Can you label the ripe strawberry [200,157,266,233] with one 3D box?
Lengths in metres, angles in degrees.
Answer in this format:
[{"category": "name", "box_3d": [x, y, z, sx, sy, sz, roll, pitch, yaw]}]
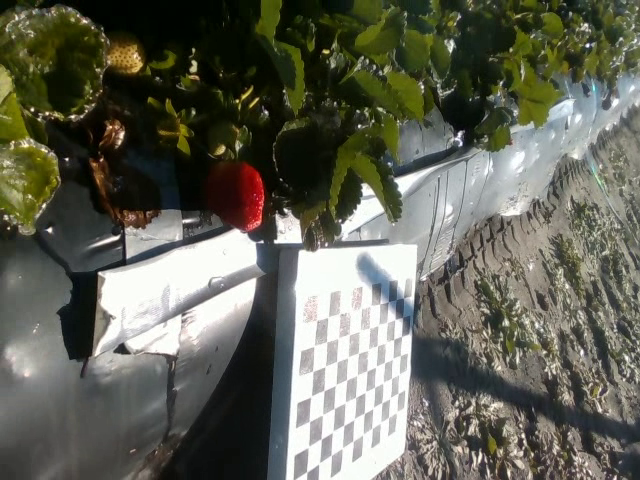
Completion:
[{"category": "ripe strawberry", "box_3d": [-0.062, -0.028, 0.477, 0.057, 0.065, 0.062, -32, -39, 2]}]
